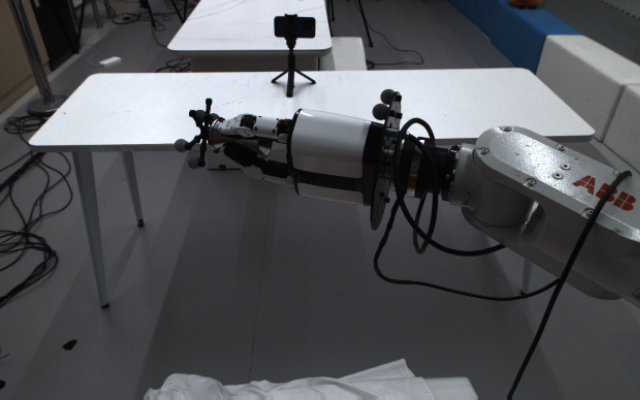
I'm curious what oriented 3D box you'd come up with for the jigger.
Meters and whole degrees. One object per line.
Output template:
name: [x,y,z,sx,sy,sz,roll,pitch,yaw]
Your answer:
jigger: [-0.097,-0.083,0.606,0.071,0.043,0.043,9,35,16]
